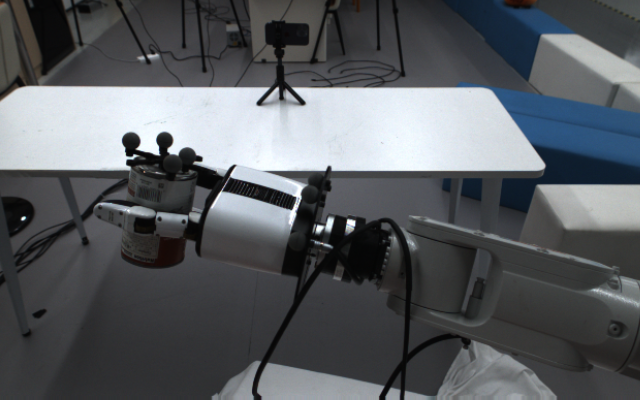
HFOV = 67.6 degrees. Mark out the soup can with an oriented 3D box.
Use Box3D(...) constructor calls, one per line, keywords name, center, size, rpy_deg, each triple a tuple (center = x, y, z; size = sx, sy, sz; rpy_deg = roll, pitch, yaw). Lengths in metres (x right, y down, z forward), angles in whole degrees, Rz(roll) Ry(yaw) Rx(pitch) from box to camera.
Box3D(name="soup can", center=(-0.167, 0.013, 0.509), size=(0.067, 0.101, 0.067), rpy_deg=(13, 18, -4))
